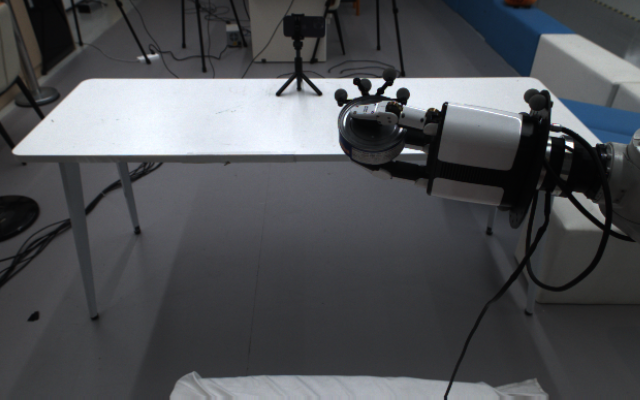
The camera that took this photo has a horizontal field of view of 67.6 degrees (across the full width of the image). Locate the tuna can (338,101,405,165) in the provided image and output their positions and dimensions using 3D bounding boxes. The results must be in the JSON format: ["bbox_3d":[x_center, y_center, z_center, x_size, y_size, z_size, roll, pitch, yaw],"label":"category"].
[{"bbox_3d":[0.065,-0.087,0.597,0.085,0.034,0.085,-2,58,2],"label":"tuna can"}]
